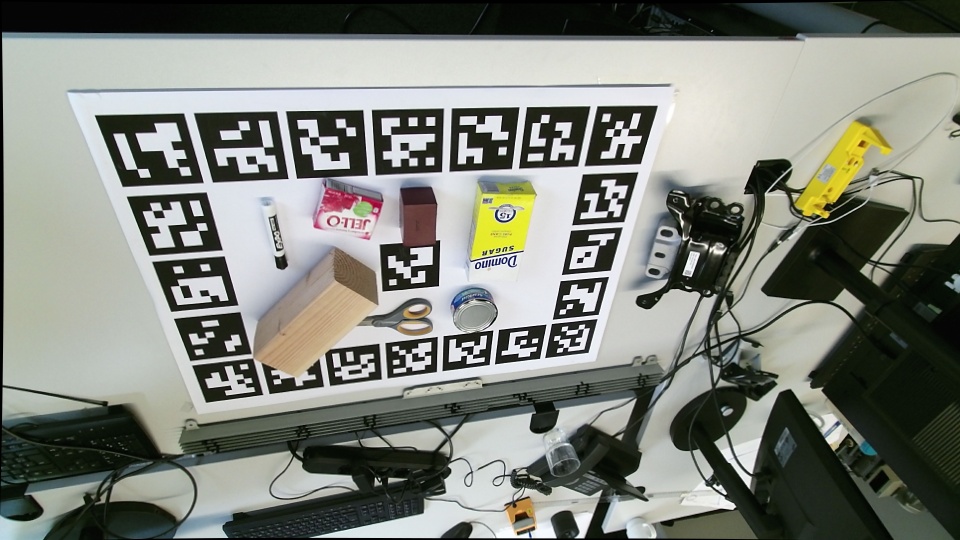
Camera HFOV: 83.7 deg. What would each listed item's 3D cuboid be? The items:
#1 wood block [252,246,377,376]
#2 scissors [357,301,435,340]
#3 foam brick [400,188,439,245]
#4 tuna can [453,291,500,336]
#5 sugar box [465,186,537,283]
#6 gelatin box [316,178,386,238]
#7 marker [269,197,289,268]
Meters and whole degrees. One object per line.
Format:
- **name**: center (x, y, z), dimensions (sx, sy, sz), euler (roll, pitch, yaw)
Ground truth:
- **wood block**: center (-0.279, 0.070, 0.894), dimensions (0.206, 0.090, 0.090), euler (-41, 127, 14)
- **scissors**: center (-0.179, 0.095, 0.985), dimensions (0.204, 0.016, 0.088), euler (1, 124, -20)
- **foam brick**: center (-0.098, -0.086, 0.854), dimensions (0.053, 0.051, 0.078), euler (-3, 124, -16)
- **tuna can**: center (-0.007, 0.082, 1.014), dimensions (0.086, 0.033, 0.086), euler (-8, 126, -12)
- **sugar box**: center (0.033, -0.058, 0.924), dimensions (0.093, 0.045, 0.176), euler (0, 124, -16)
- **gelatin box**: center (-0.202, -0.094, 0.834), dimensions (0.090, 0.030, 0.073), euler (13, 119, -25)
- **marker**: center (-0.312, -0.055, 0.833), dimensions (0.020, 0.019, 0.121), euler (-3, 123, -15)
